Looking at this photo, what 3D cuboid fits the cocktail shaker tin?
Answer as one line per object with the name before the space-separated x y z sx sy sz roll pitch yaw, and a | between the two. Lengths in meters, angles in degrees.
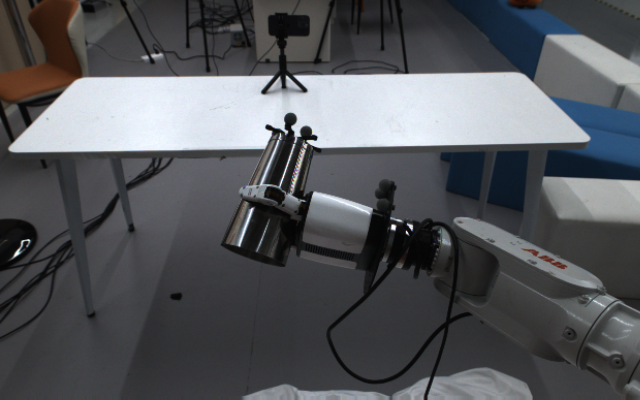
cocktail shaker tin | -0.066 -0.002 0.672 0.093 0.093 0.170 14 74 17
